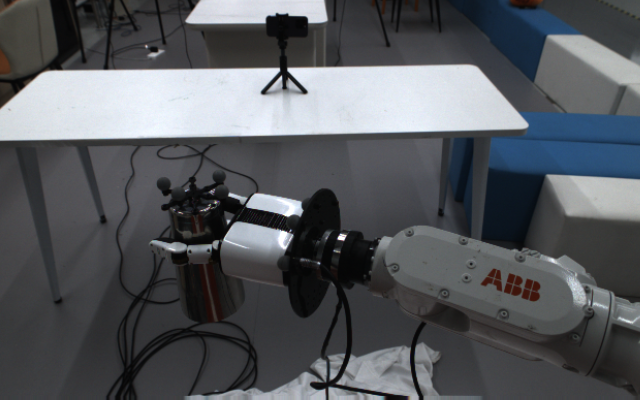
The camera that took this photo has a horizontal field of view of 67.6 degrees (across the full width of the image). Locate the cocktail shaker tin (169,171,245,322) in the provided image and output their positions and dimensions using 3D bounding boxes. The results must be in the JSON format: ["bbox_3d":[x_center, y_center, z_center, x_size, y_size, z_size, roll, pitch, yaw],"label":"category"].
[{"bbox_3d":[-0.153,0.071,0.658,0.093,0.170,0.093,-1,32,1],"label":"cocktail shaker tin"}]
